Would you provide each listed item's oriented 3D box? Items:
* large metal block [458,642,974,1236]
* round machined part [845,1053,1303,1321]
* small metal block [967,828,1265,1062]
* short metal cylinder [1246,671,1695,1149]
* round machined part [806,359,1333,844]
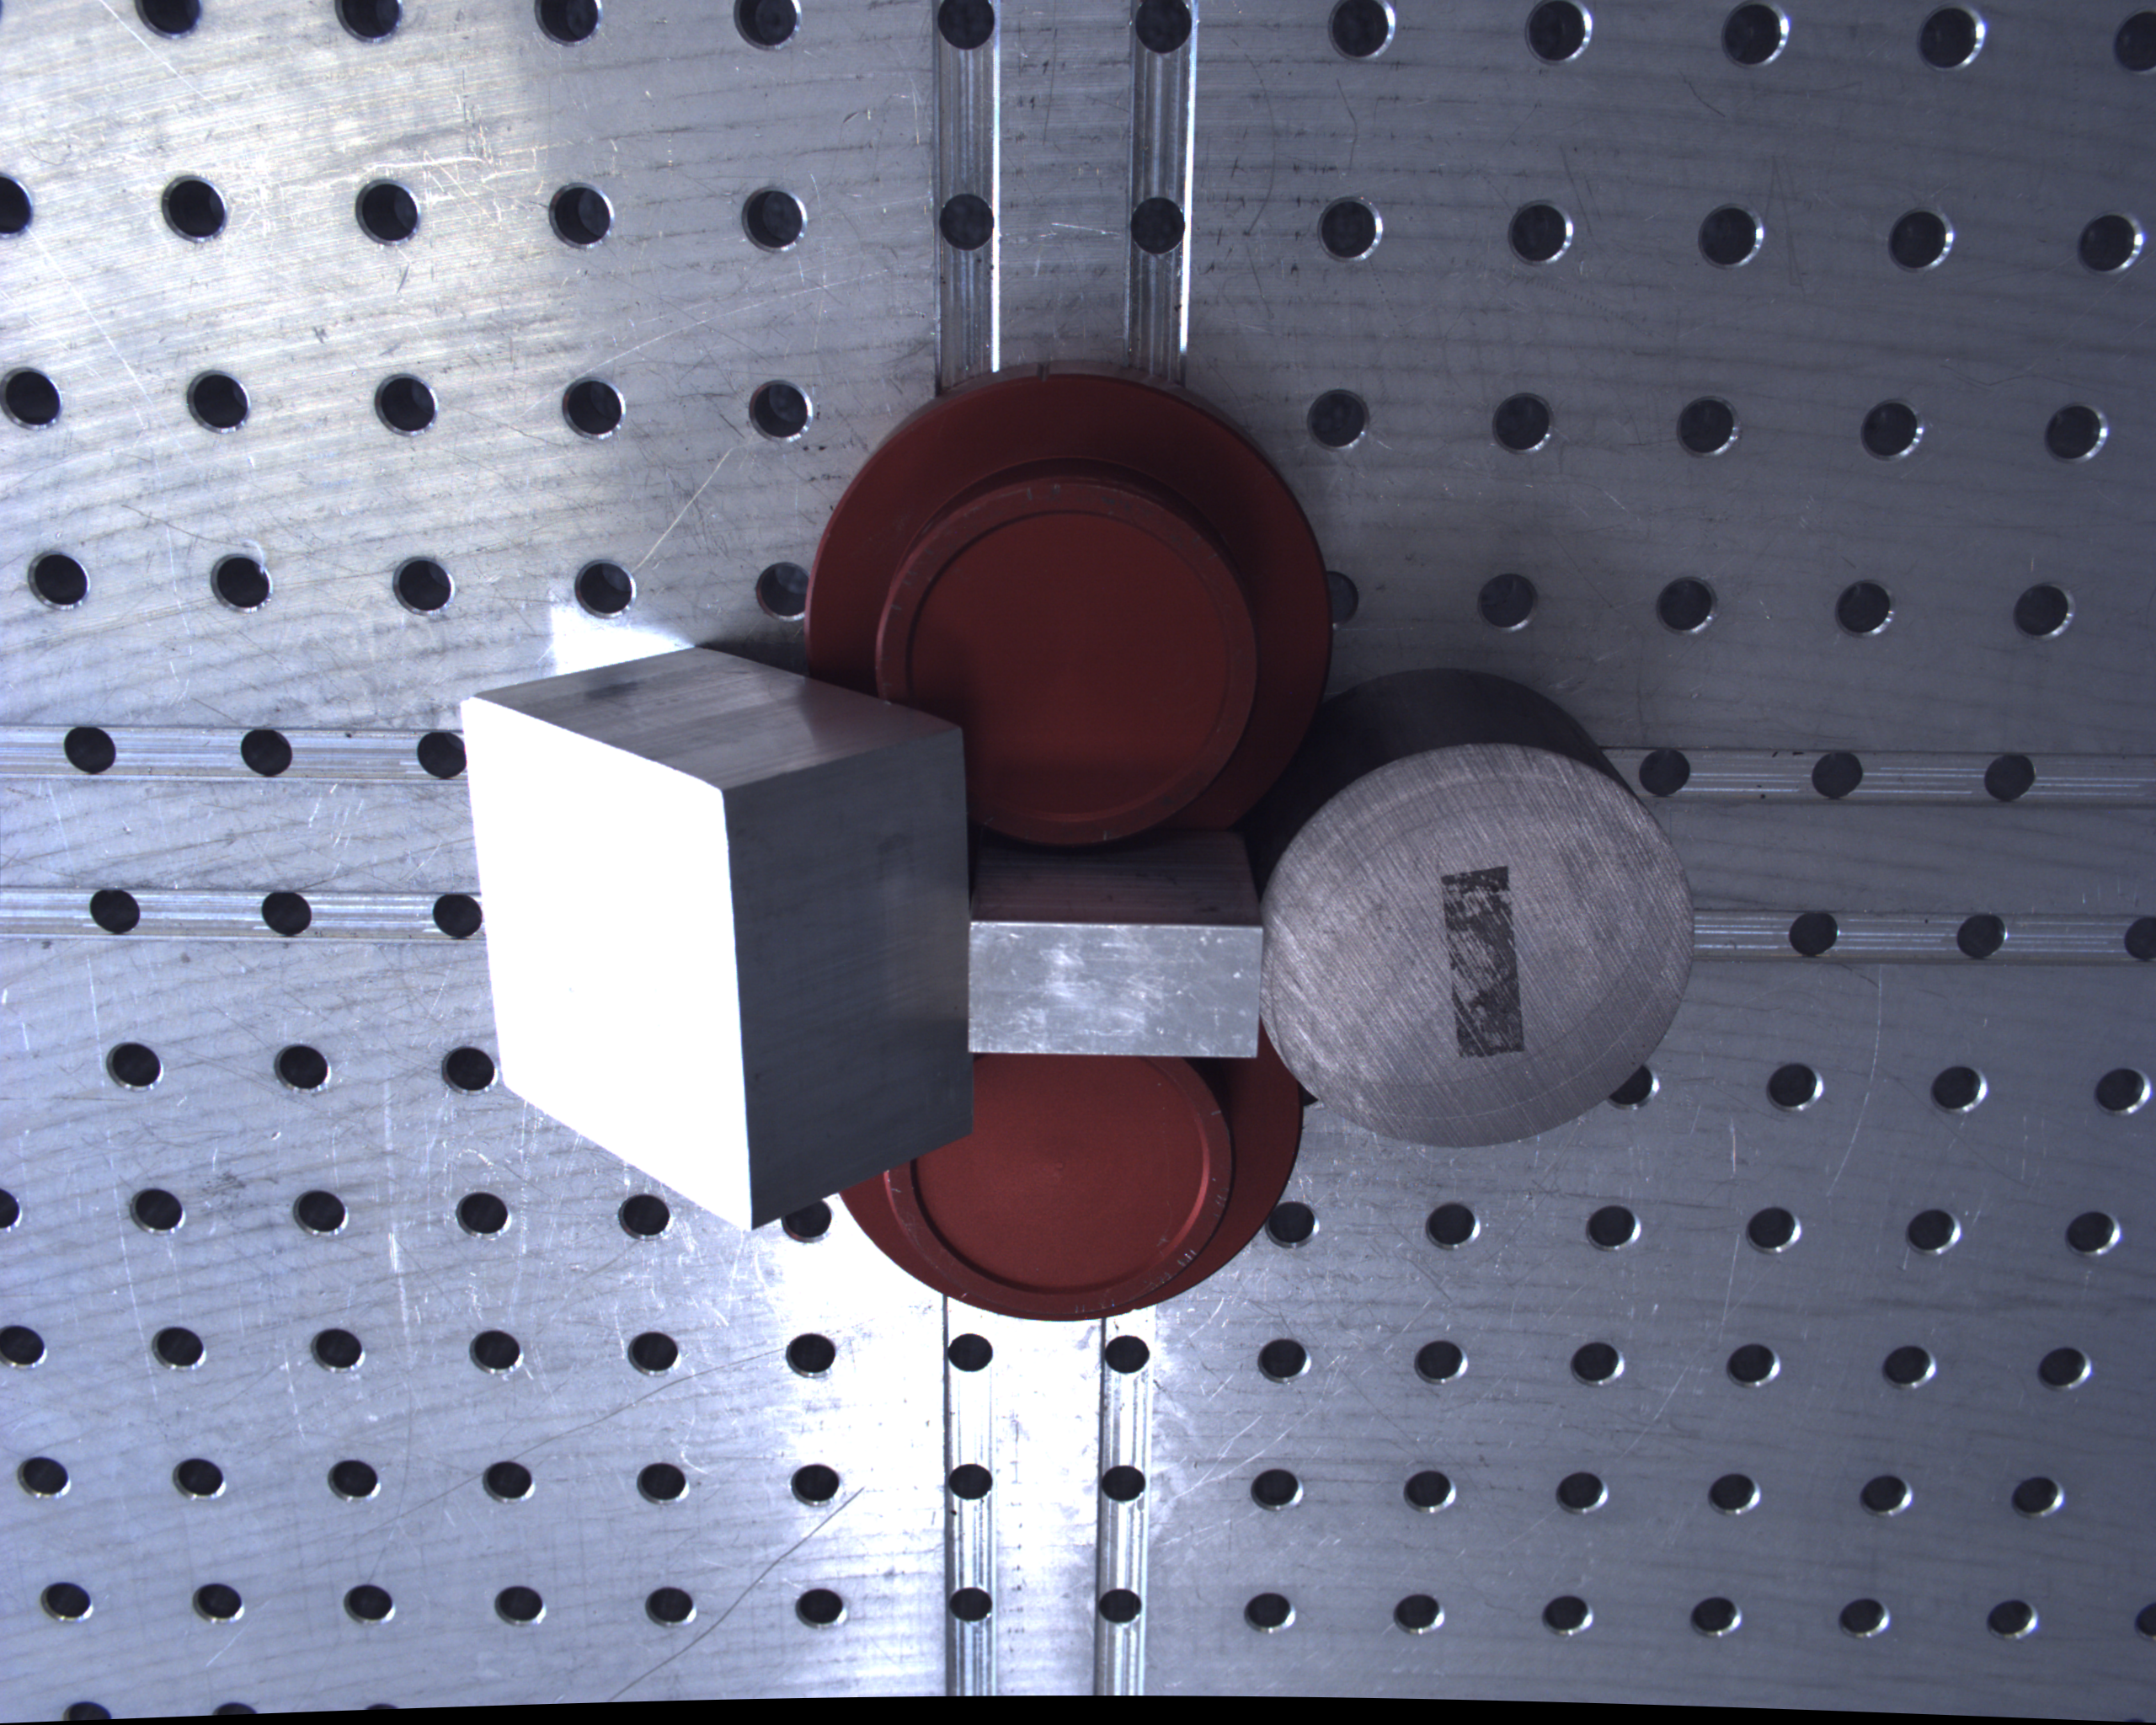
[{"bbox_3d":[-0.066,0.010,0.381,0.050,0.080,0.079,-19,118,-41],"label":"large metal block"},{"bbox_3d":[-0.003,0.052,0.423,0.099,0.042,0.097,0,110,0],"label":"round machined part"},{"bbox_3d":[0.006,0.014,0.381,0.050,0.050,0.025,1,110,-1],"label":"small metal block"},{"bbox_3d":[0.072,0.008,0.402,0.081,0.050,0.079,0,110,0],"label":"short metal cylinder"},{"bbox_3d":[-0.002,-0.042,0.389,0.099,0.042,0.097,0,110,0],"label":"round machined part"}]
